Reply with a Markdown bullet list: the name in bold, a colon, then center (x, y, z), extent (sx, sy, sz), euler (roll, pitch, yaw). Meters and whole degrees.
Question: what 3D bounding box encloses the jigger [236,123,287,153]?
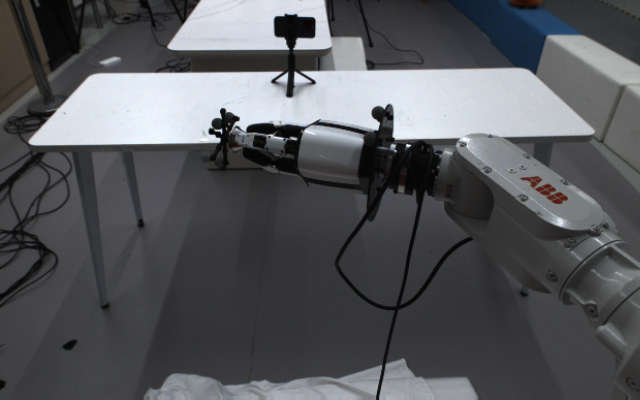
- **jigger**: center (-0.088, -0.087, 0.701), extent (0.071, 0.043, 0.043), euler (10, 35, 16)
